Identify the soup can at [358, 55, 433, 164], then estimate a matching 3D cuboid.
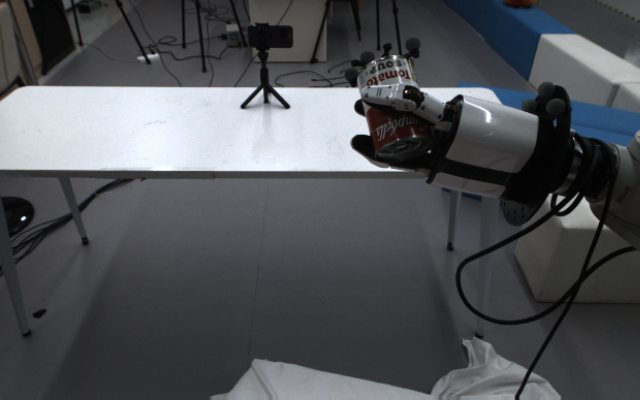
[{"bbox_3d":[0.086,-0.102,0.550,0.067,0.067,0.101,-8,74,-14],"label":"soup can"}]
